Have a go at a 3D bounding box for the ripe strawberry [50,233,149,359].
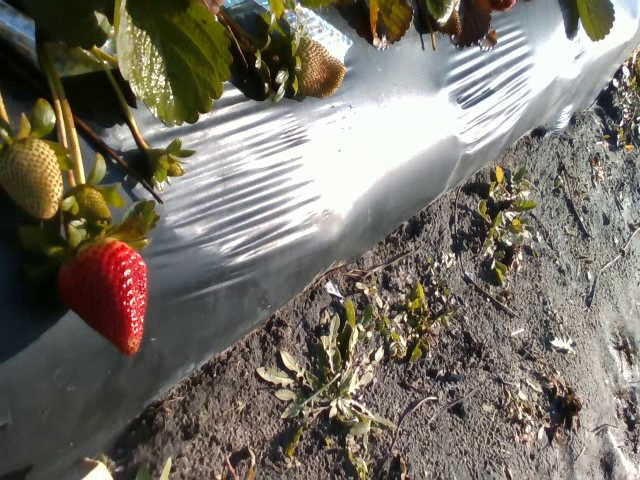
[{"bbox_3d":[-0.095,0.026,0.267,0.042,0.059,0.042,-22,-9,32],"label":"ripe strawberry"}]
